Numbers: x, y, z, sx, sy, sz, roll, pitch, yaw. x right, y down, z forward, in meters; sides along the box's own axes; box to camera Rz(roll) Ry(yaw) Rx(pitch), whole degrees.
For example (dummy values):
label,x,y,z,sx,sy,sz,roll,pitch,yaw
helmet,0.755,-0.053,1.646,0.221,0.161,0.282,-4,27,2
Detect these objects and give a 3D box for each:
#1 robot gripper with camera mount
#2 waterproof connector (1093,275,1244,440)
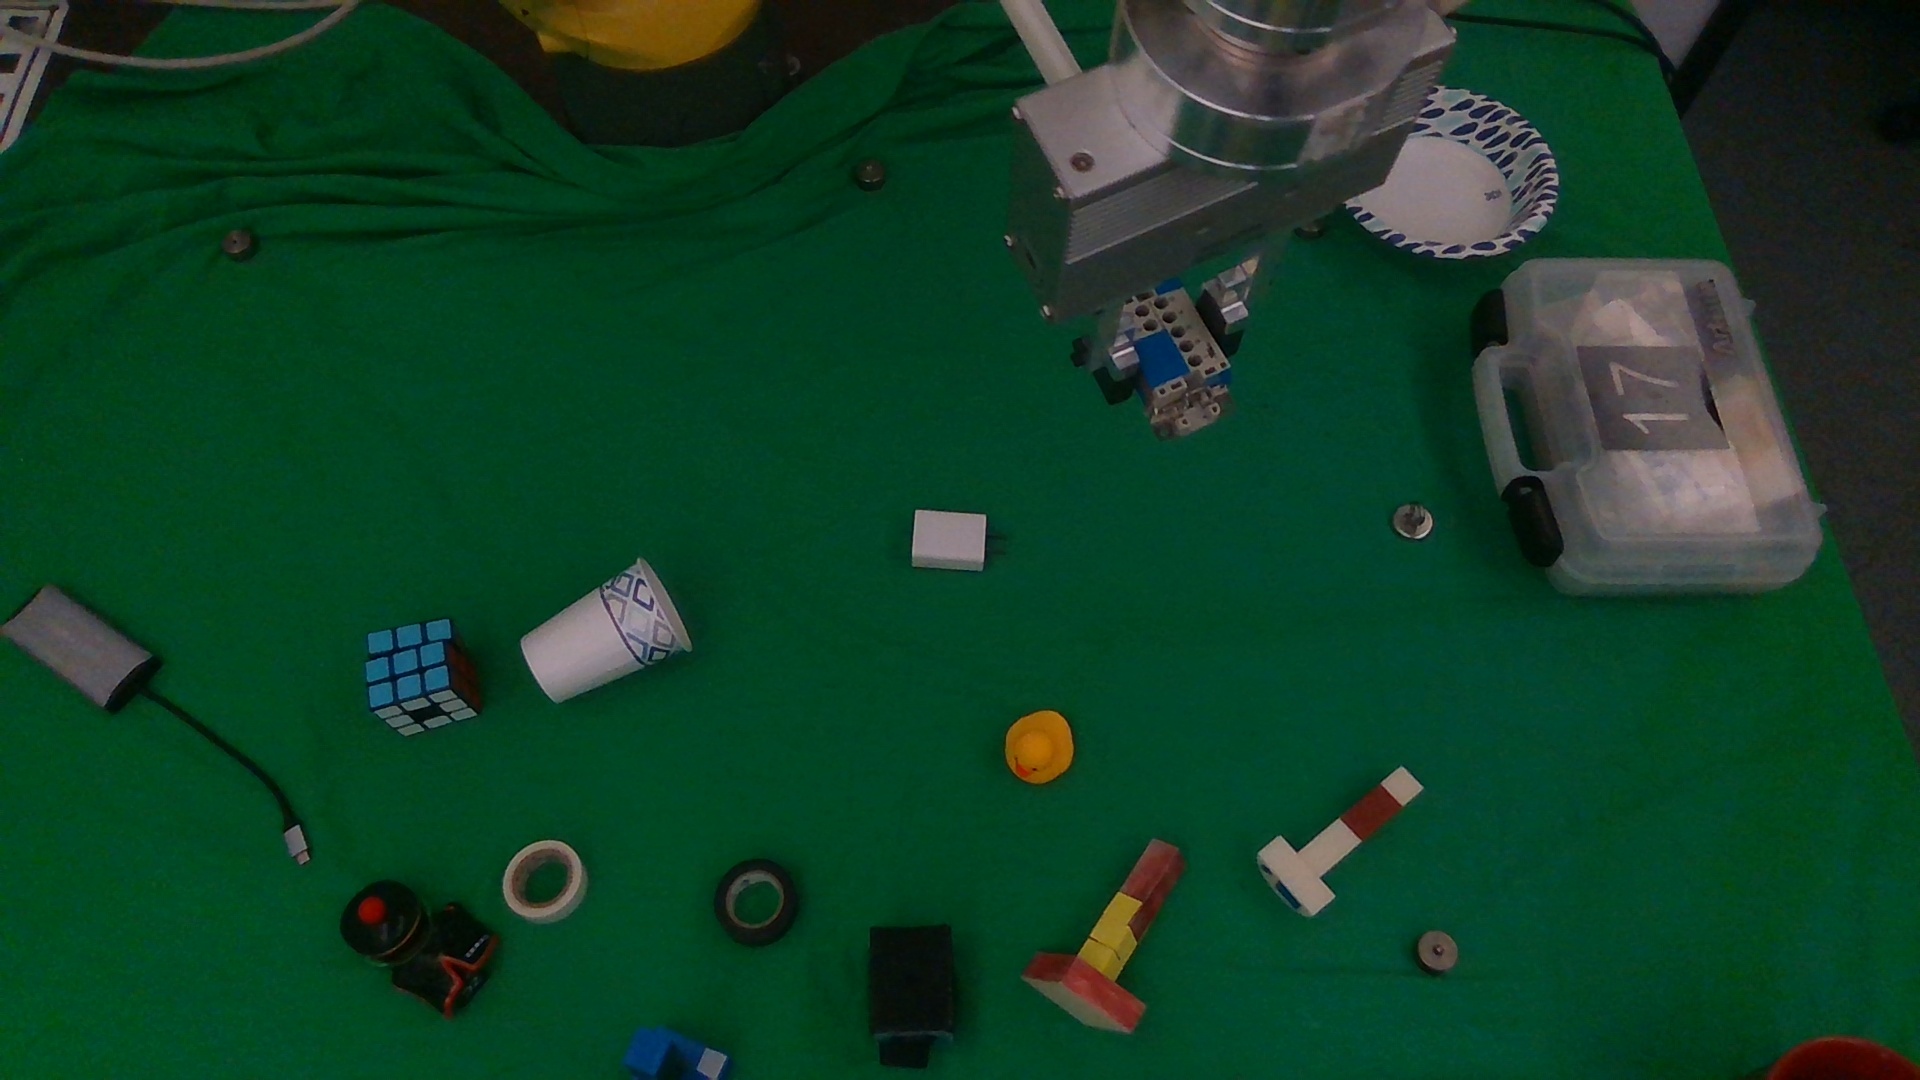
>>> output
label,x,y,z,sx,sy,sz,roll,pitch,yaw
robot gripper with camera mount,0.040,-0.166,0.492,0.119,0.158,0.193,-25,71,-6
waterproof connector,0.080,-0.071,0.536,0.035,0.037,0.065,-25,74,-10
